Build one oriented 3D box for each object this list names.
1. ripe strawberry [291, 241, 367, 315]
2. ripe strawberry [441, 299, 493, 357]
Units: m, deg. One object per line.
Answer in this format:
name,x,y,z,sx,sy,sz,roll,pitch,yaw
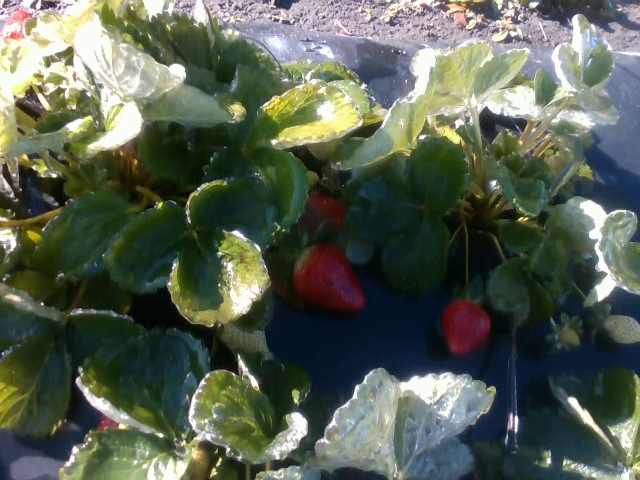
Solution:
ripe strawberry,0.010,0.028,0.398,0.056,0.044,0.040,45,-17,-9
ripe strawberry,0.098,0.061,0.408,0.039,0.047,0.040,34,-26,-12
